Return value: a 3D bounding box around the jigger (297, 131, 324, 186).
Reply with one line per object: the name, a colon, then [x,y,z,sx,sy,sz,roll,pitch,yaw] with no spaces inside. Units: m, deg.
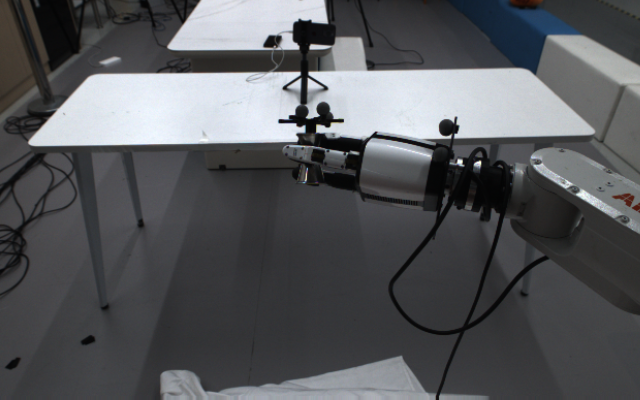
jigger: [-0.012,-0.057,0.662,0.043,0.071,0.043,-1,2,0]
